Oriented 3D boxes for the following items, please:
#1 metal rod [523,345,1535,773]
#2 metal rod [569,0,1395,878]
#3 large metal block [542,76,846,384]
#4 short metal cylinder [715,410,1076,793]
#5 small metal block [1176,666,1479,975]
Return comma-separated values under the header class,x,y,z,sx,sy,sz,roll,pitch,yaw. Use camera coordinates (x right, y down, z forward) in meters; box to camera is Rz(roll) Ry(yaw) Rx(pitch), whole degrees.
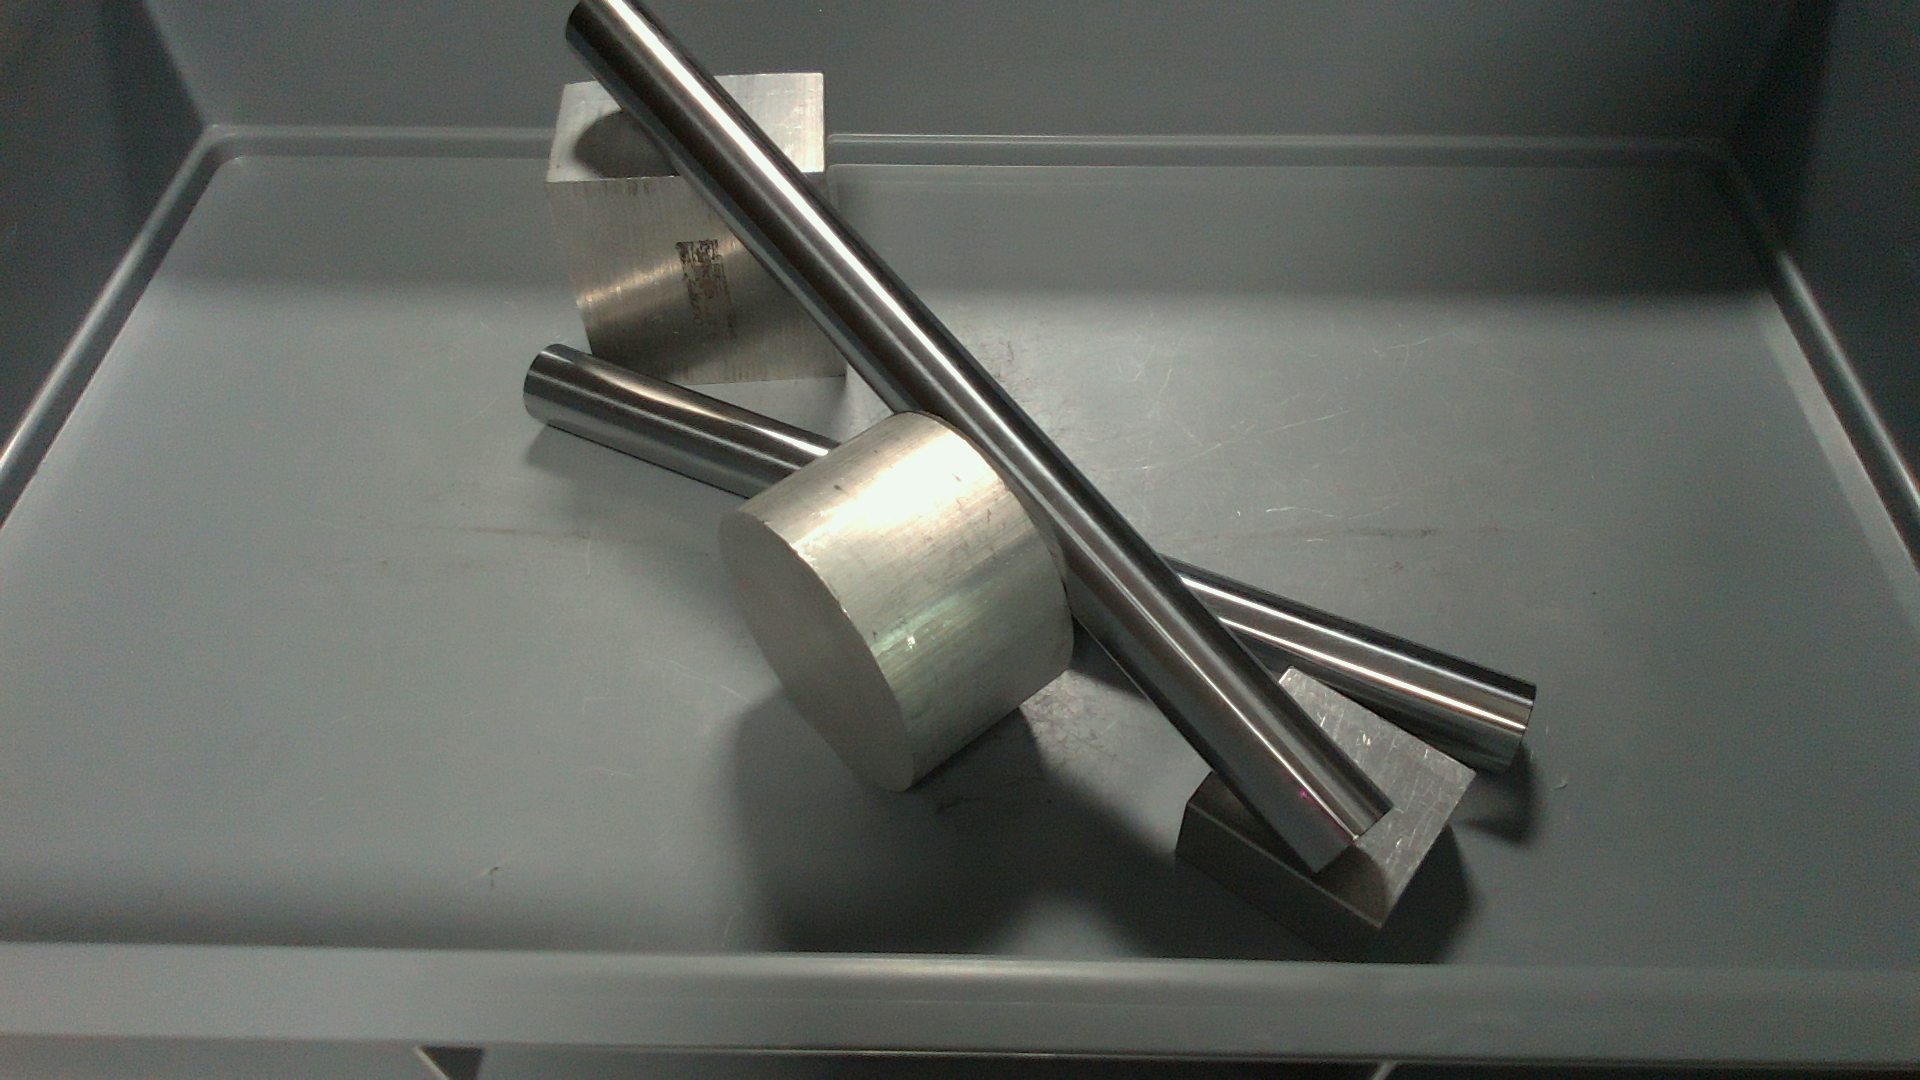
class,x,y,z,sx,sy,sz,roll,pitch,yaw
metal rod,0.006,-0.001,0.391,0.299,0.025,0.025,20,53,16
metal rod,-0.008,-0.041,0.349,0.025,0.025,0.300,-33,69,-24
large metal block,-0.079,-0.096,0.436,0.080,0.080,0.050,-3,50,-2
short metal cylinder,-0.017,0.015,0.341,0.050,0.080,0.080,-33,57,-24
small metal block,0.088,0.067,0.334,0.050,0.025,0.050,31,56,23
